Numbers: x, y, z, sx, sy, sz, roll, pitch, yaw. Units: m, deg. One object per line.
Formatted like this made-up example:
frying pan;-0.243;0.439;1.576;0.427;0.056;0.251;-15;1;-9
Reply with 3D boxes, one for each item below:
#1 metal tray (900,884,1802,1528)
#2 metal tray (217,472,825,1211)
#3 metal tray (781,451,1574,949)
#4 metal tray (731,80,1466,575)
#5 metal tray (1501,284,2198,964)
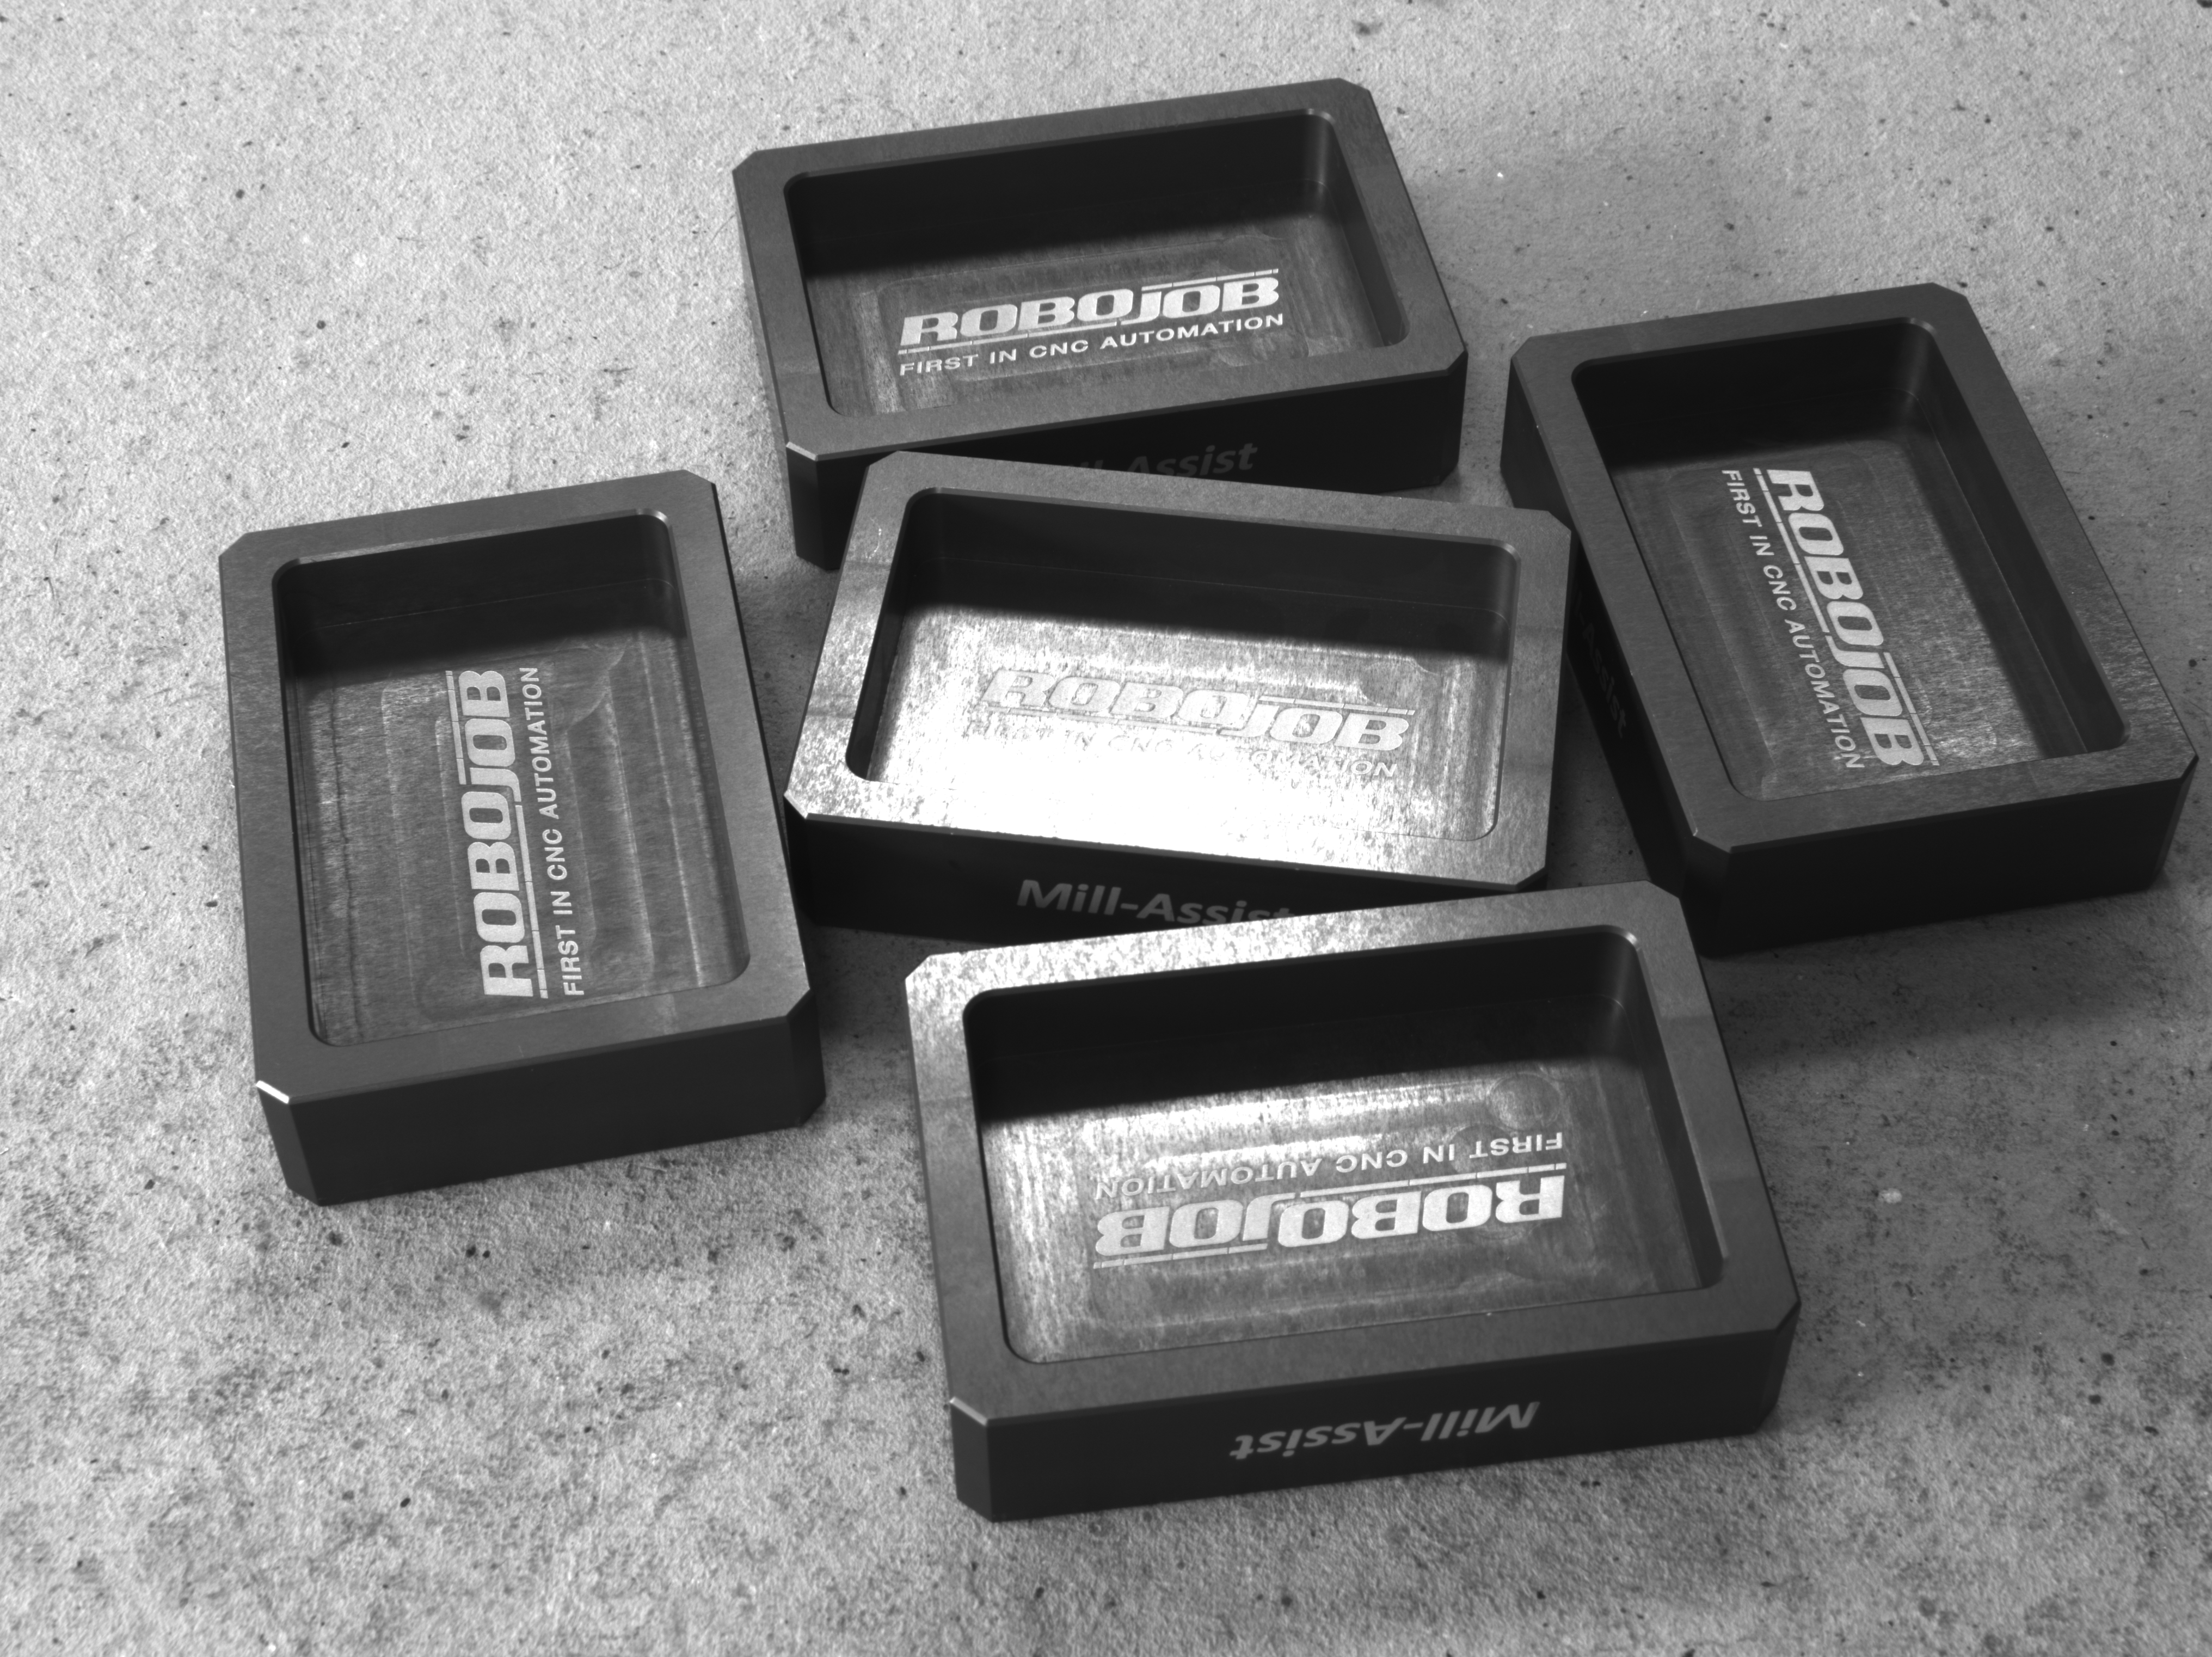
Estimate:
metal tray;0.036;0.058;0.590;0.130;0.030;0.090;-6;50;-4
metal tray;-0.103;-0.001;0.641;0.090;0.030;0.130;-9;51;-7
metal tray;0.015;-0.020;0.657;0.130;0.030;0.090;6;52;6
metal tray;-0.003;-0.100;0.725;0.130;0.030;0.090;-9;50;-6
metal tray;0.132;-0.041;0.674;0.090;0.030;0.130;-9;51;-6
